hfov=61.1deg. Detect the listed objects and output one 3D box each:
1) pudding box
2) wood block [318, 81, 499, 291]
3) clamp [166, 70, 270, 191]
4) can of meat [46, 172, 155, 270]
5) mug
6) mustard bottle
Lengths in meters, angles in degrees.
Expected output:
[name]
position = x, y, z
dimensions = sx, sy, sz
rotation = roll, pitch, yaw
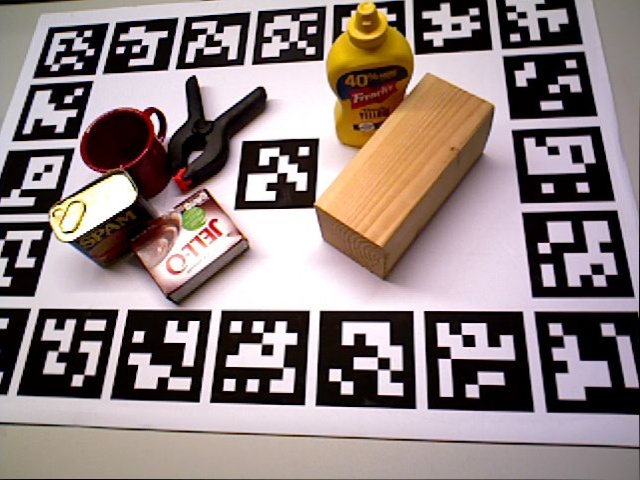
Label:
[pudding box]
position = -0.150, 0.013, 0.623
dimensions = 0.113, 0.039, 0.090
rotation = -37, 67, -10
[wood block]
position = 0.099, -0.060, 0.593
dimensions = 0.090, 0.092, 0.204
rotation = 35, 73, 22
[clamp]
position = -0.147, -0.139, 0.694
dimensions = 0.122, 0.037, 0.163
rotation = 18, 72, 14
[can of meat]
position = -0.249, -0.018, 0.620
dimensions = 0.101, 0.085, 0.057
rotation = -28, 66, -5
[mug]
position = -0.230, -0.104, 0.686
dimensions = 0.093, 0.082, 0.116
rotation = 21, 72, 16
[mustard bottle]
position = 0.057, -0.178, 0.589
dimensions = 0.096, 0.193, 0.058
rotation = -5, 65, 5
